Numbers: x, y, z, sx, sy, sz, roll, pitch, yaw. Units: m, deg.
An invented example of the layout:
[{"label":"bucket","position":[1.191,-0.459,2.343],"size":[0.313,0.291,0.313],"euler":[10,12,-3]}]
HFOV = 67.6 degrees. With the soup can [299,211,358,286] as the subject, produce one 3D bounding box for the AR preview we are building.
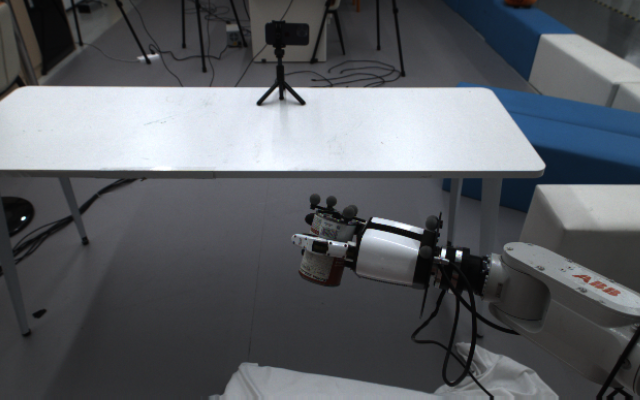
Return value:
[{"label":"soup can","position":[0.013,0.073,0.740],"size":[0.067,0.101,0.067],"euler":[15,7,-2]}]
